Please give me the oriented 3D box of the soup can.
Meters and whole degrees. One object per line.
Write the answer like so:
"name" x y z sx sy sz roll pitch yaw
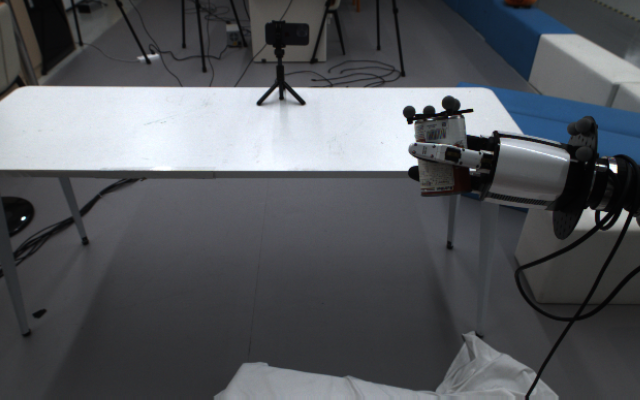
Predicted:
"soup can" 0.166 -0.059 0.653 0.067 0.101 0.067 -6 3 0
